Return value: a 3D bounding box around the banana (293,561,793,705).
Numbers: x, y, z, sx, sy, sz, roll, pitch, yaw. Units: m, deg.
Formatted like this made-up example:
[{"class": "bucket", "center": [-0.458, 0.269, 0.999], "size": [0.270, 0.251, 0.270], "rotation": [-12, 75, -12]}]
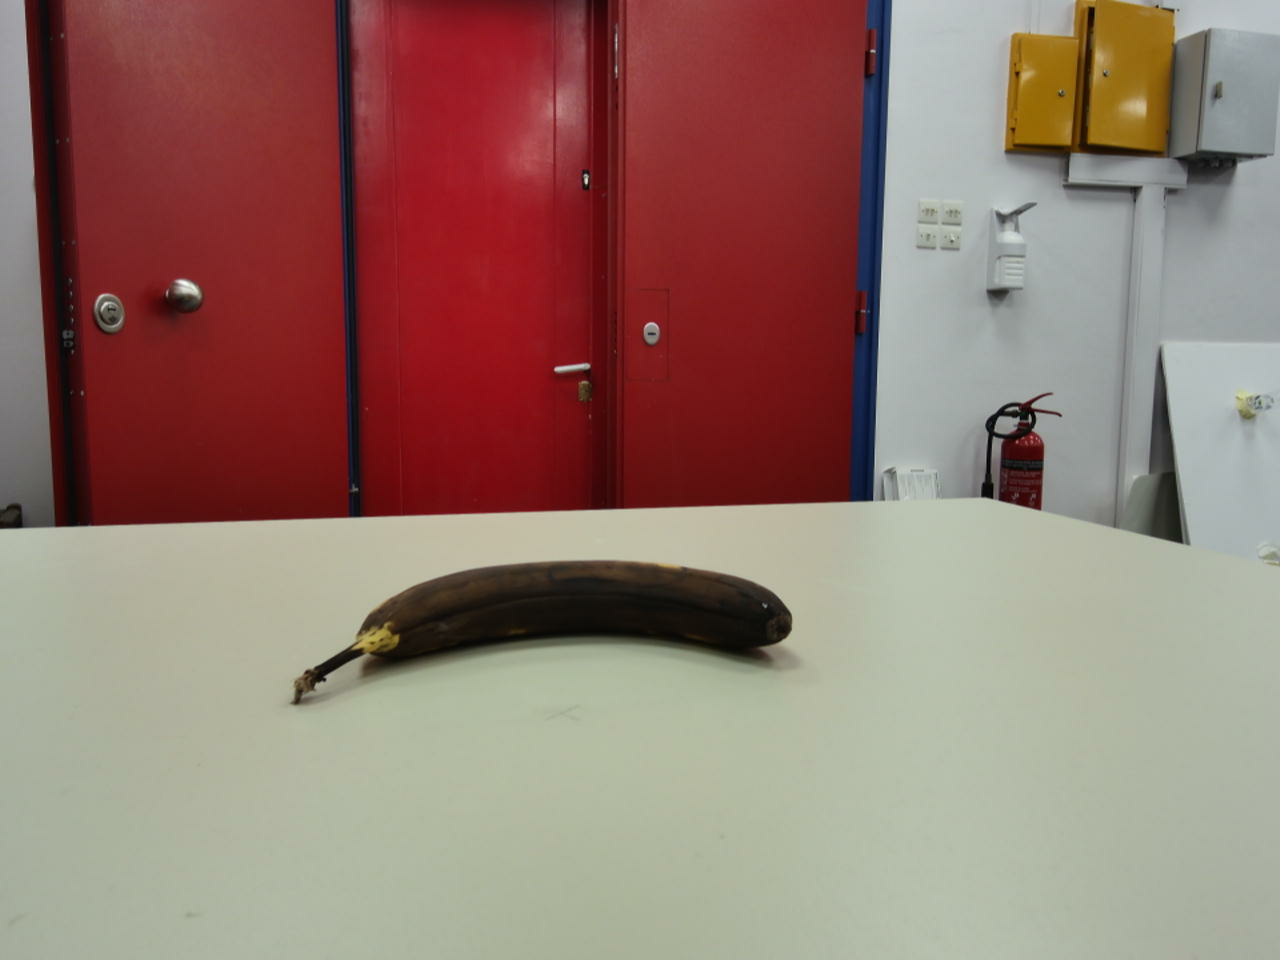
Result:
[{"class": "banana", "center": [-0.037, 0.054, 0.410], "size": [0.188, 0.033, 0.091], "rotation": [-1, 4, -12]}]
